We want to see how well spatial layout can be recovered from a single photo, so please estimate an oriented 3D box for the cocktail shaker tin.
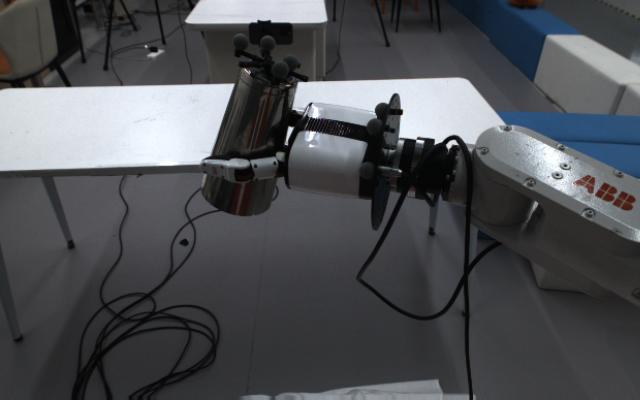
[{"bbox_3d":[-0.081,-0.078,0.582,0.093,0.170,0.093,15,31,-10],"label":"cocktail shaker tin"}]
